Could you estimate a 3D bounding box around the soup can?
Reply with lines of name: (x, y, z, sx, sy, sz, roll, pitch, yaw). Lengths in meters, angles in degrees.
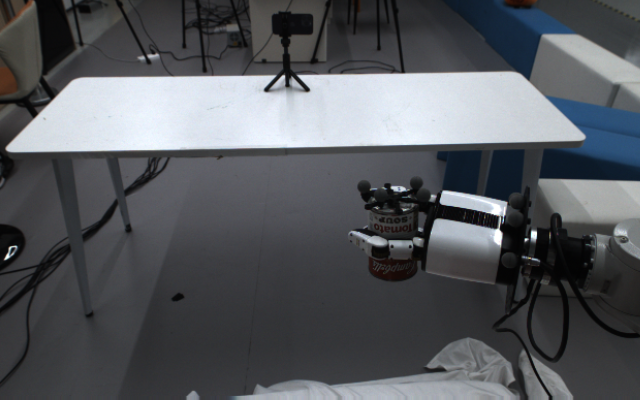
soup can: (0.099, 0.047, 0.643, 0.067, 0.101, 0.067, -4, 26, 2)
